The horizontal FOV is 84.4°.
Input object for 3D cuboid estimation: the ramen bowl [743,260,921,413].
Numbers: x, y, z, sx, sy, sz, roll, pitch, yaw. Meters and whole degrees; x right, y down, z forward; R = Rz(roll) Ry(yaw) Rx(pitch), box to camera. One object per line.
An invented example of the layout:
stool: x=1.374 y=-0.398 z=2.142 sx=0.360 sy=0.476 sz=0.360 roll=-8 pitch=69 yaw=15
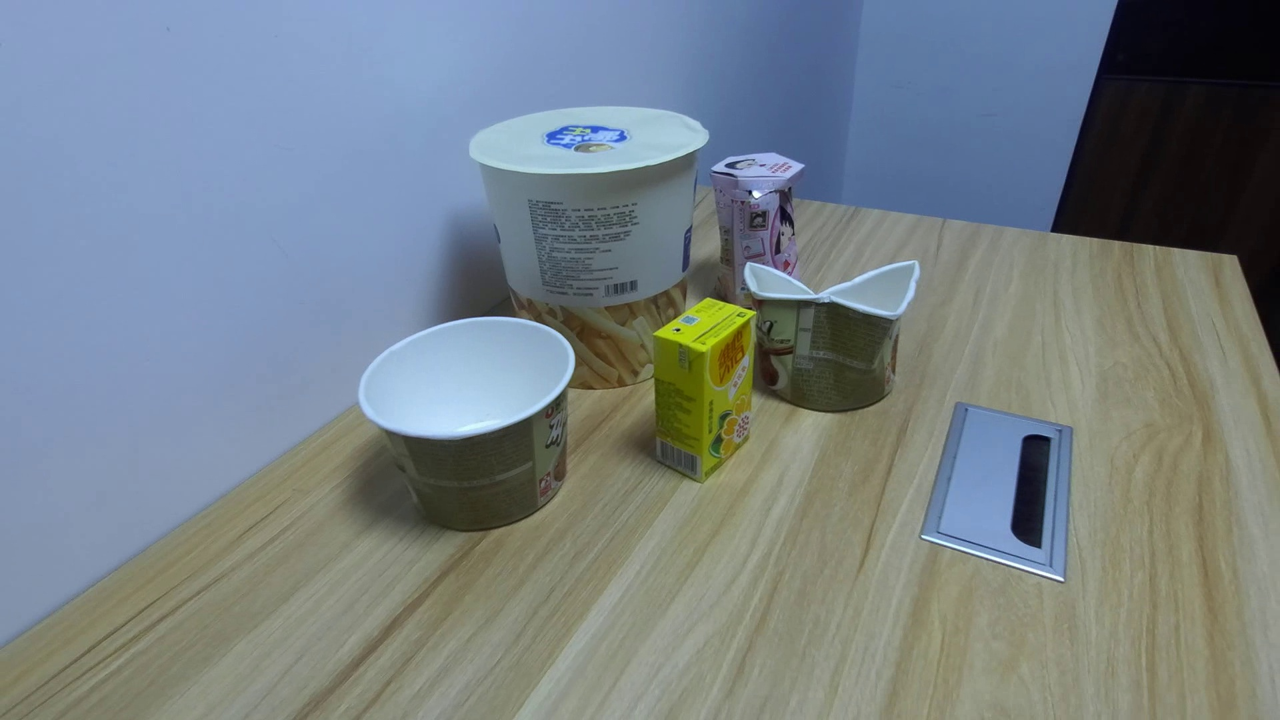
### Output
ramen bowl: x=0.149 y=-0.028 z=0.575 sx=0.128 sy=0.093 sz=0.112 roll=11 pitch=36 yaw=20

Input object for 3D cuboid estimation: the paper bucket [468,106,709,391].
paper bucket: x=-0.035 y=-0.094 z=0.603 sx=0.198 sy=0.195 sz=0.198 roll=-2 pitch=32 yaw=2

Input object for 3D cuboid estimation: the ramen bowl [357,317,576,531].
ramen bowl: x=-0.111 y=0.045 z=0.488 sx=0.140 sy=0.095 sz=0.140 roll=-1 pitch=33 yaw=1

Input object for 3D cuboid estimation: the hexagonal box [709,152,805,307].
hexagonal box: x=0.113 y=-0.126 z=0.697 sx=0.091 sy=0.135 sz=0.090 roll=-13 pitch=31 yaw=-14

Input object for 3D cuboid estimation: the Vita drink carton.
Vita drink carton: x=0.045 y=0.020 z=0.493 sx=0.043 sy=0.109 sz=0.067 roll=21 pitch=39 yaw=33
